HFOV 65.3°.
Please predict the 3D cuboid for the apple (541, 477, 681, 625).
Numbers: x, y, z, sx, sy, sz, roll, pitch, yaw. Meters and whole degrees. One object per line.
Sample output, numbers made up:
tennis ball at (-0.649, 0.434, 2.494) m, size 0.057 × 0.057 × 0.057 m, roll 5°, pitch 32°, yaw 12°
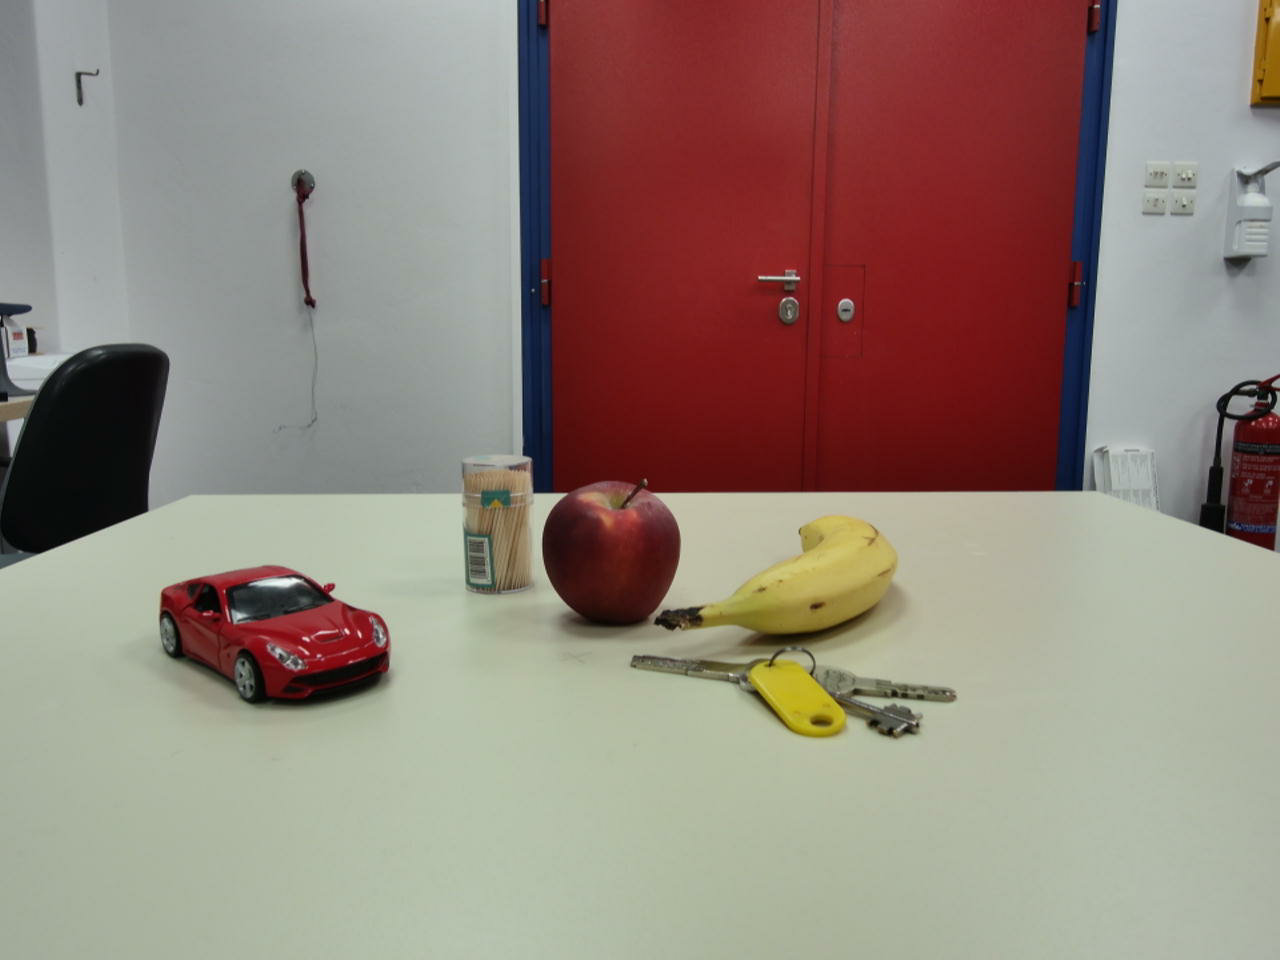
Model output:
apple at (-0.014, 0.034, 0.504) m, size 0.070 × 0.072 × 0.070 m, roll -1°, pitch 7°, yaw 0°
